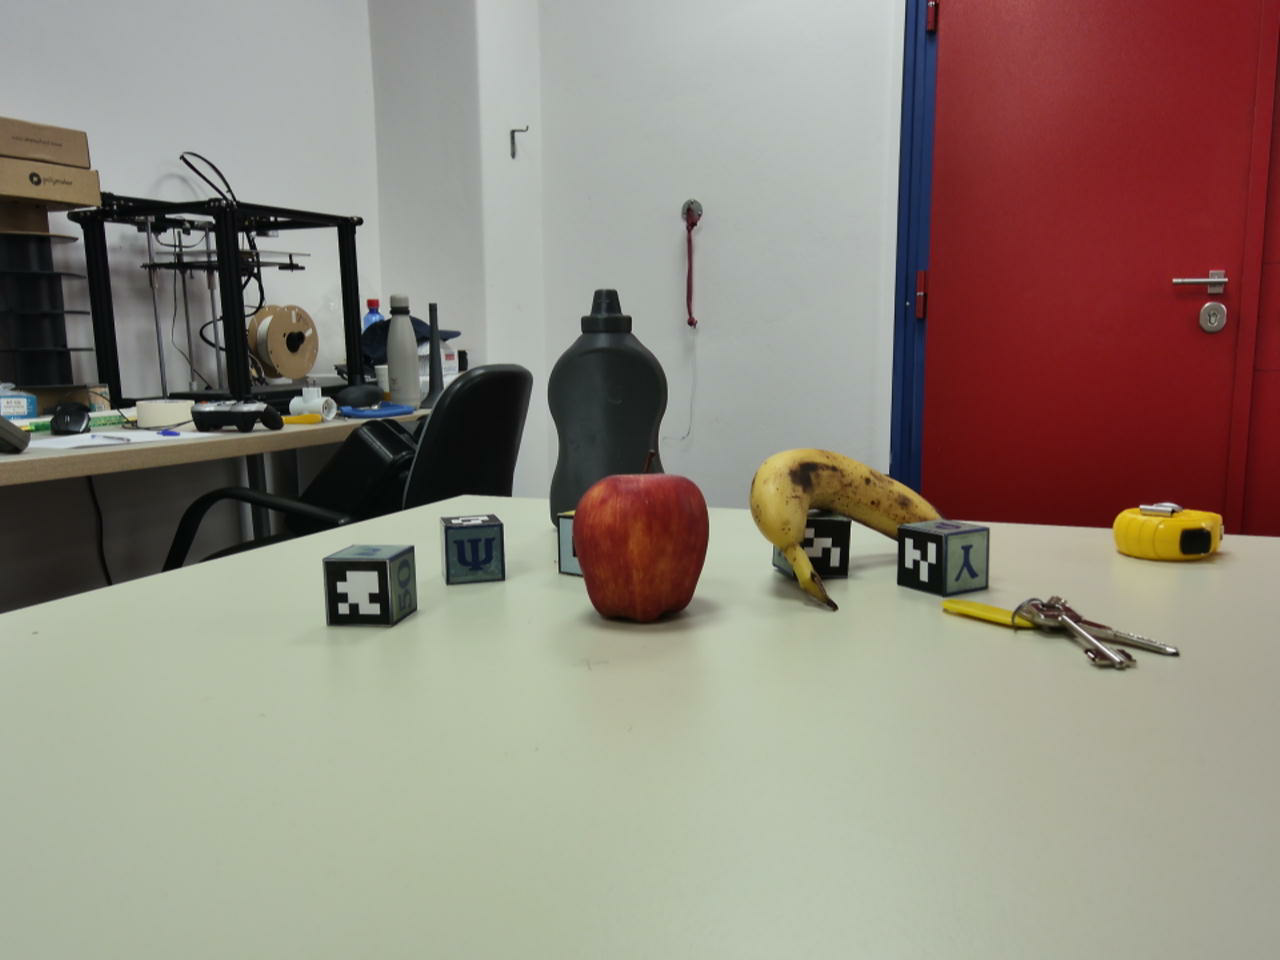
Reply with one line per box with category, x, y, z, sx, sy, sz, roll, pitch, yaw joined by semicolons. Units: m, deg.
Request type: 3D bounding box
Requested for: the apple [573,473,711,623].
apple;0.001;0.029;0.550;0.083;0.090;0.083;-1;6;0
